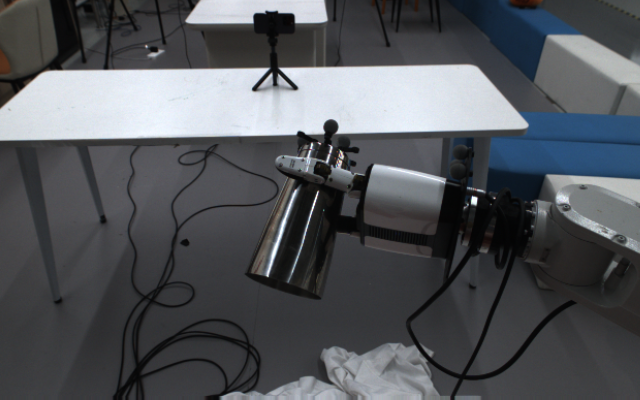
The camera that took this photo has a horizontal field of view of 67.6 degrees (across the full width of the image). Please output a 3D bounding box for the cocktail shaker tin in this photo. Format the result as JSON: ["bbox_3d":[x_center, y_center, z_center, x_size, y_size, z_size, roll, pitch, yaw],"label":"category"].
[{"bbox_3d":[-0.016,0.019,0.574,0.093,0.093,0.170,13,71,15],"label":"cocktail shaker tin"}]
